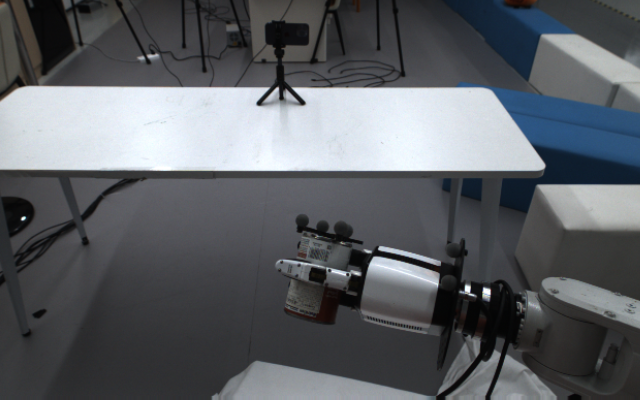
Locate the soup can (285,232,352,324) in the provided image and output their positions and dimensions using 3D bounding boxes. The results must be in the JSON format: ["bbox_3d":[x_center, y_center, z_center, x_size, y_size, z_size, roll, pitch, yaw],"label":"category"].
[{"bbox_3d":[0.000,0.099,0.611,0.067,0.101,0.067,13,-6,1],"label":"soup can"}]
